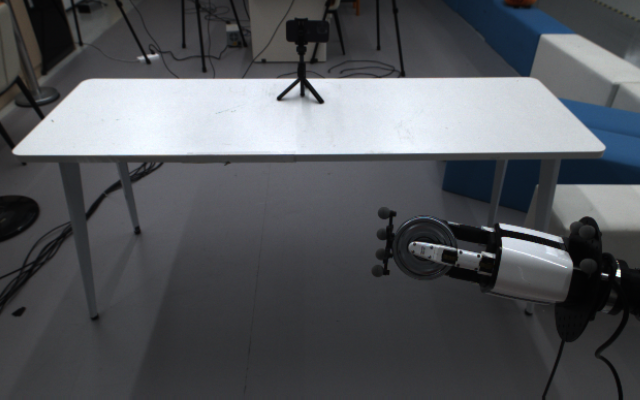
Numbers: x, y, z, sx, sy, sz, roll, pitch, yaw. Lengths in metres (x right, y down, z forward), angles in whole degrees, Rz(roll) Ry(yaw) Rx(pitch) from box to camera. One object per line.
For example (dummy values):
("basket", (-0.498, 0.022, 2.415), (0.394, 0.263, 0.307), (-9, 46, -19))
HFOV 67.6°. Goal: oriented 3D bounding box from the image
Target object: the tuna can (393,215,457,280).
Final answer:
("tuna can", (0.142, 0.061, 0.650), (0.085, 0.085, 0.034), (10, 2, 11))
